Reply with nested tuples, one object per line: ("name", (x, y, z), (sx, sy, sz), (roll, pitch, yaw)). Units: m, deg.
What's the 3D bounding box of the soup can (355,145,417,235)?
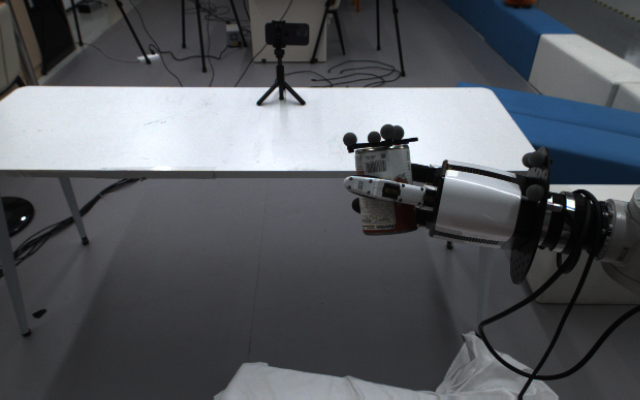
("soup can", (0.081, -0.013, 0.587), (0.067, 0.101, 0.067), (-7, 3, 0))
